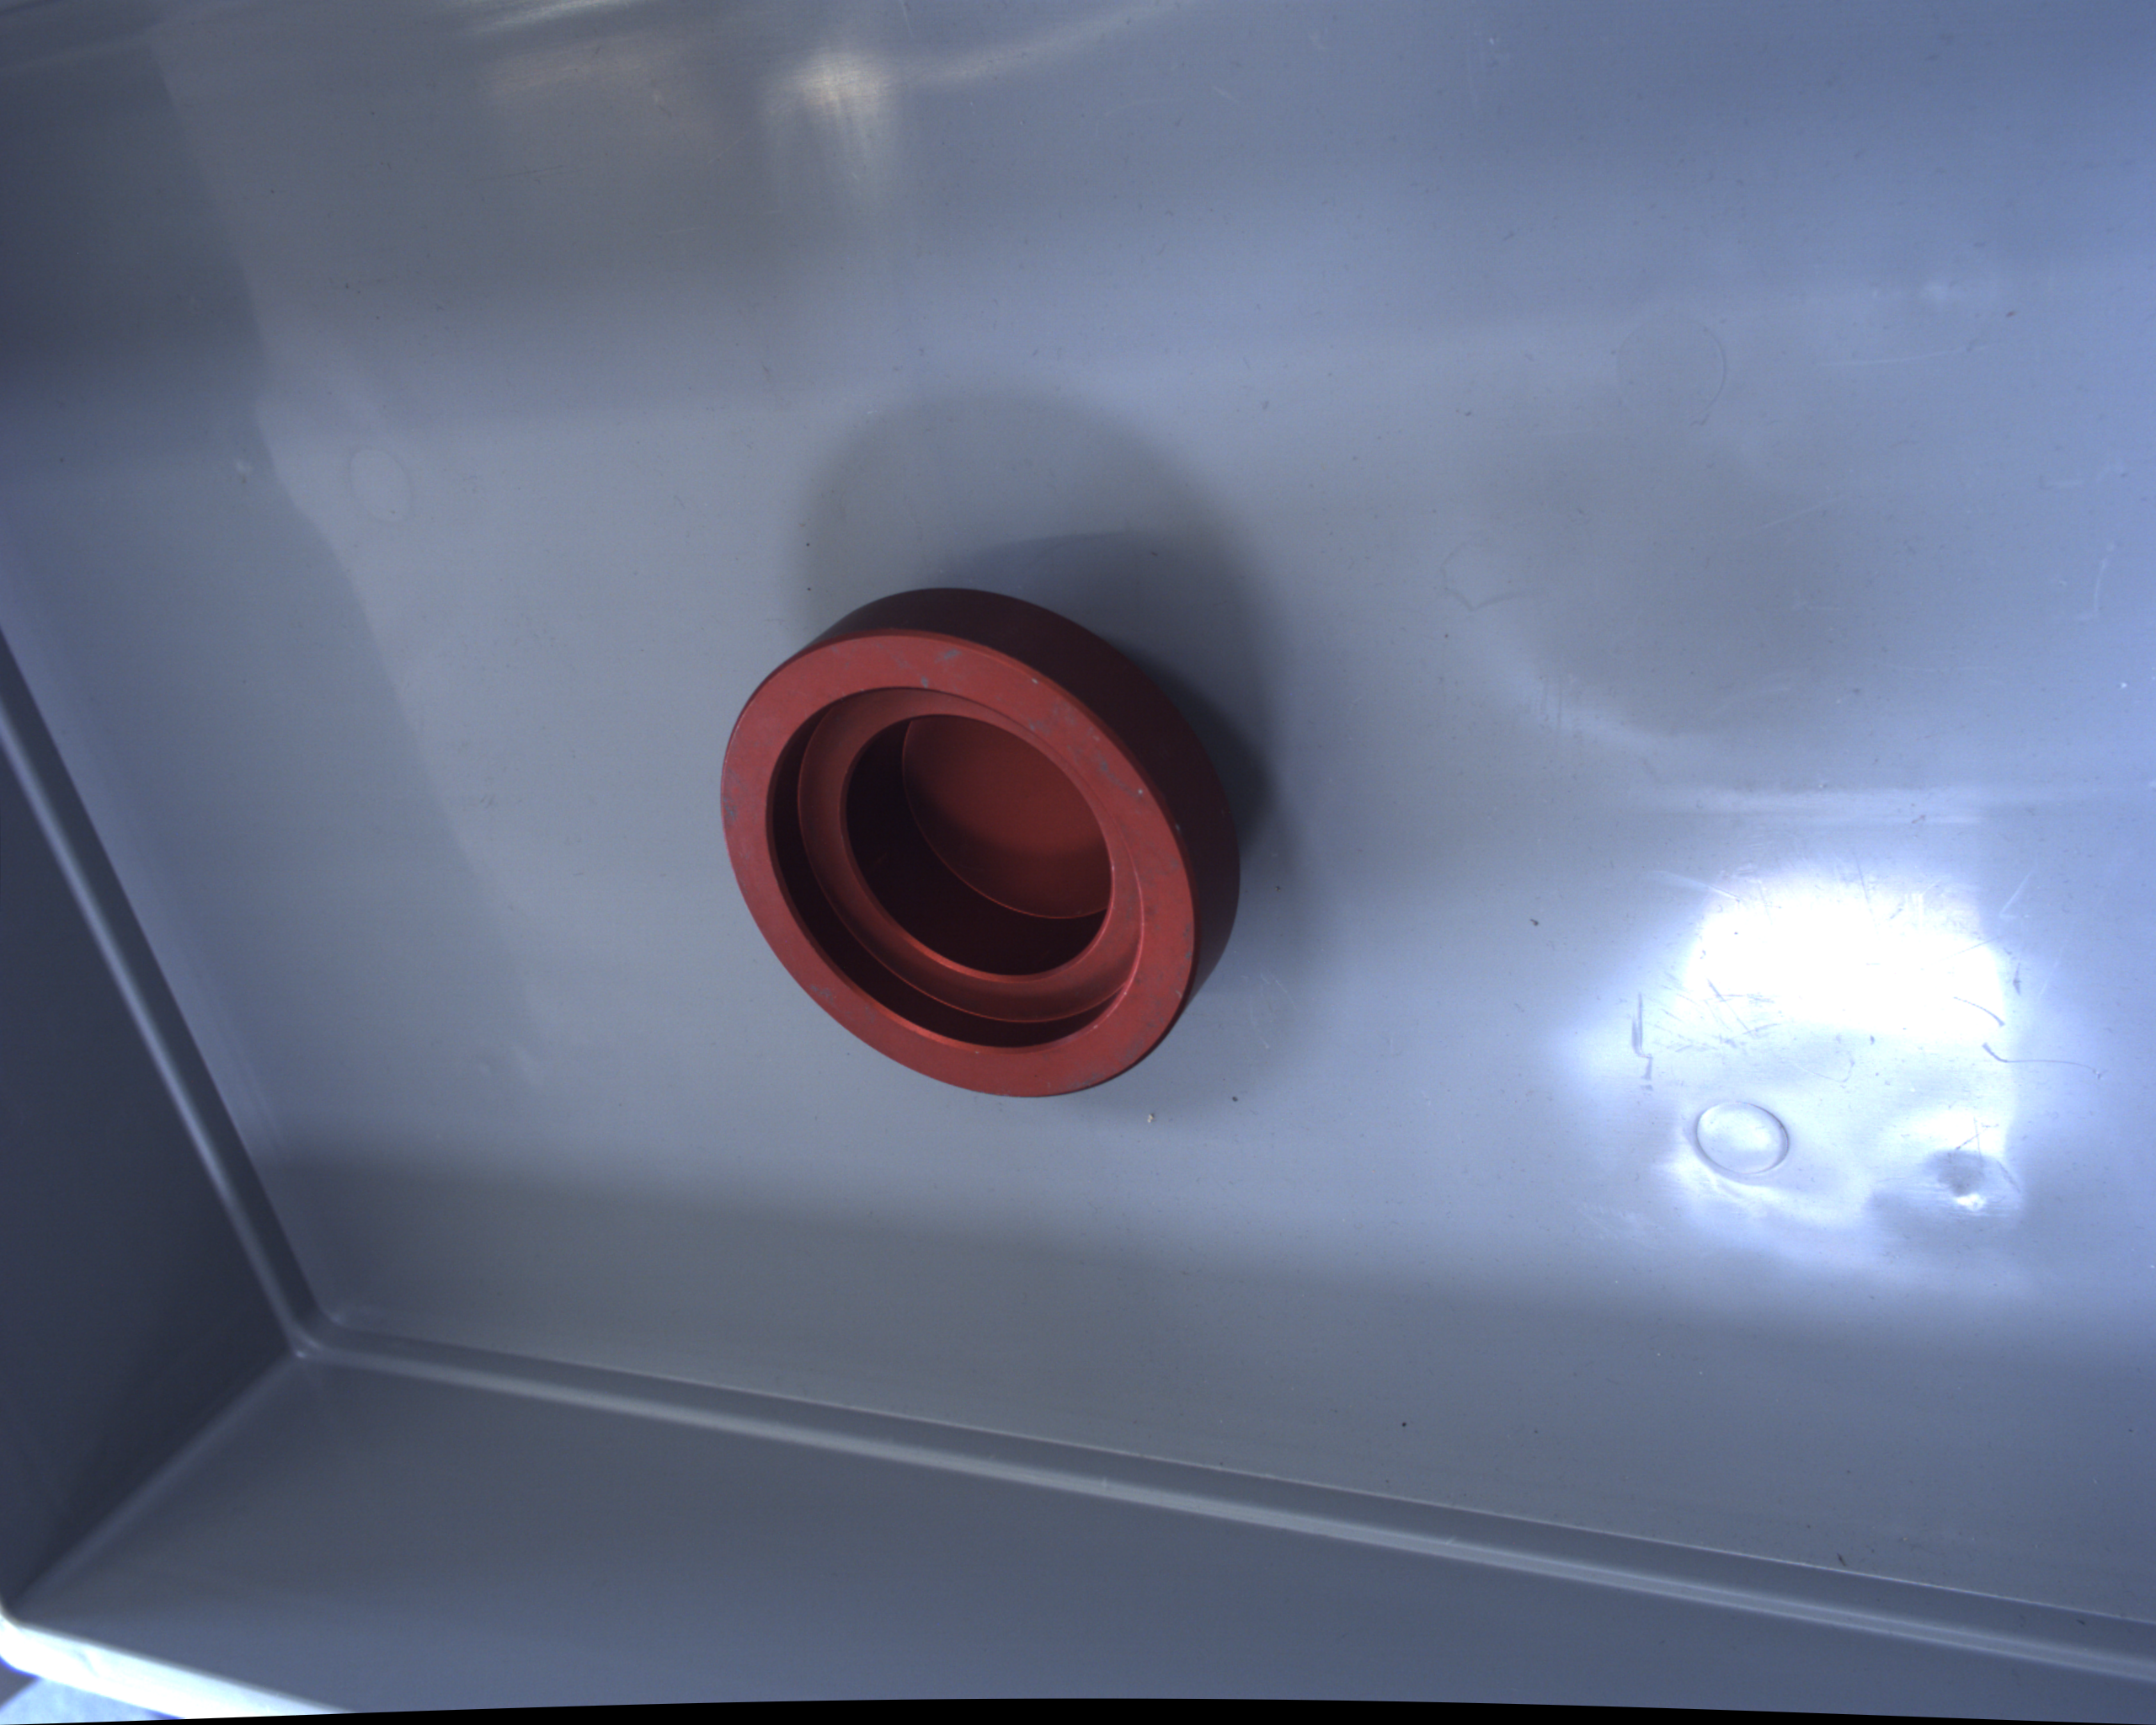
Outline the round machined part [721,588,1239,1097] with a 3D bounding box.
[{"bbox_3d":[-0.015,-0.007,0.398,0.098,0.042,0.097,13,124,21],"label":"round machined part"}]
